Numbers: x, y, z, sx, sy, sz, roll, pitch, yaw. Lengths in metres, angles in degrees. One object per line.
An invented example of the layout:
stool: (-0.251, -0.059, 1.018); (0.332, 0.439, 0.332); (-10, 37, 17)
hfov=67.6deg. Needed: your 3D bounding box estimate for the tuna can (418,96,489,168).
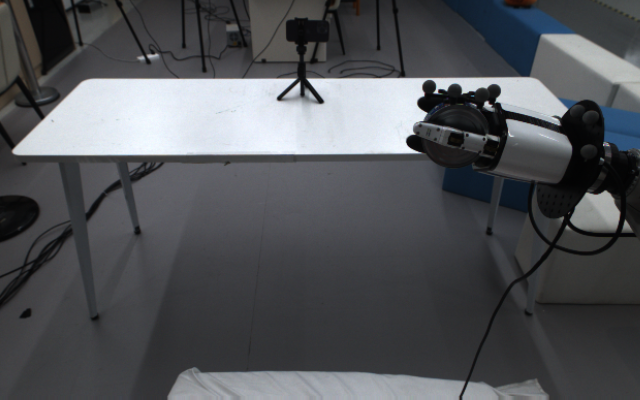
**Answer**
tuna can: (0.178, -0.089, 0.641); (0.085, 0.085, 0.034); (7, 23, 7)
